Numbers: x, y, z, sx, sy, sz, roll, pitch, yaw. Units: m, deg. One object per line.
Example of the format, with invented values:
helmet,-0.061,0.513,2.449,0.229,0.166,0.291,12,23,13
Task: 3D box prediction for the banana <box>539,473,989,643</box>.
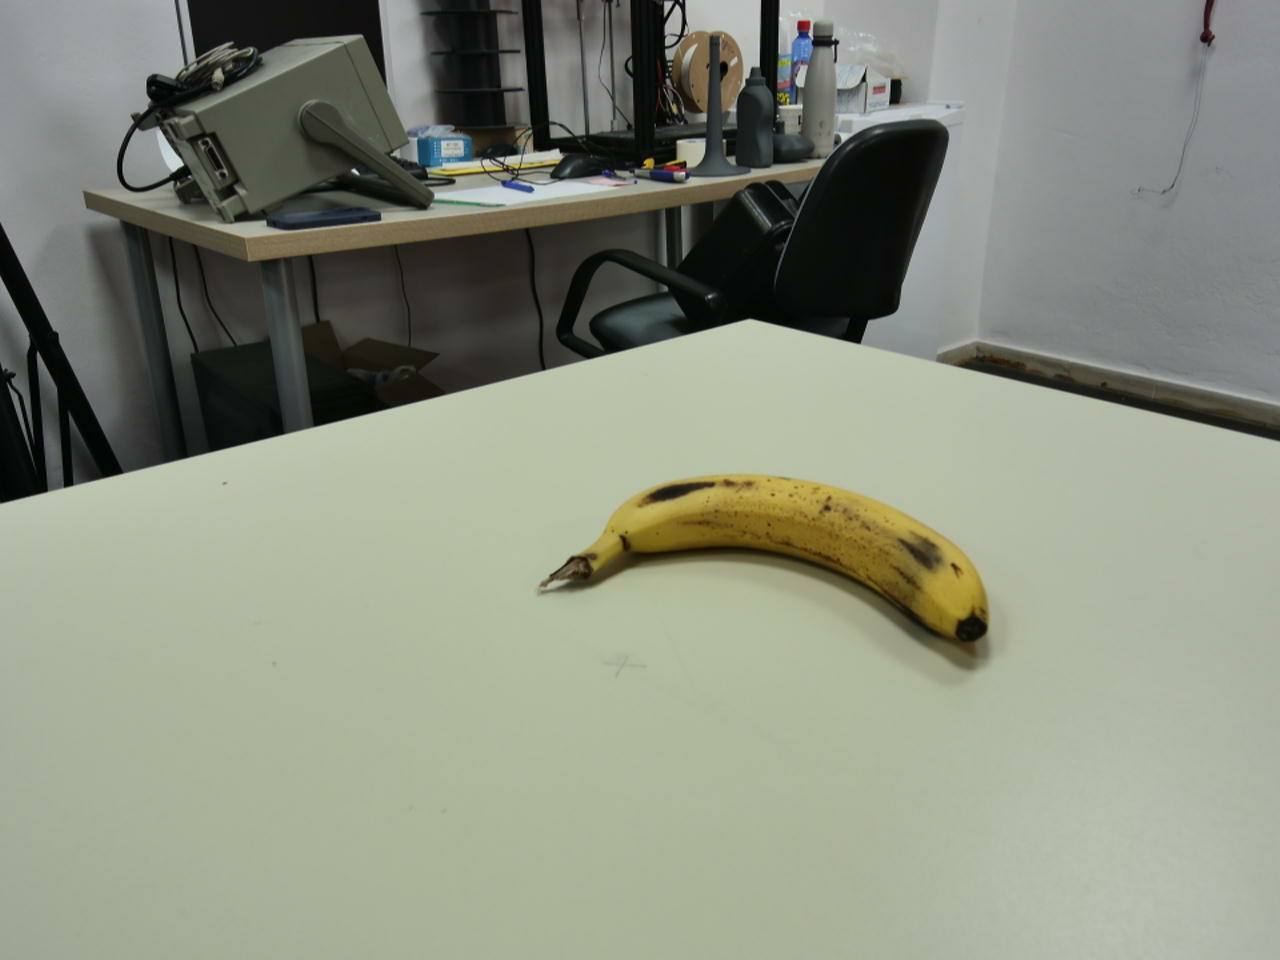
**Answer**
banana,0.064,0.030,0.457,0.186,0.038,0.097,9,23,22
